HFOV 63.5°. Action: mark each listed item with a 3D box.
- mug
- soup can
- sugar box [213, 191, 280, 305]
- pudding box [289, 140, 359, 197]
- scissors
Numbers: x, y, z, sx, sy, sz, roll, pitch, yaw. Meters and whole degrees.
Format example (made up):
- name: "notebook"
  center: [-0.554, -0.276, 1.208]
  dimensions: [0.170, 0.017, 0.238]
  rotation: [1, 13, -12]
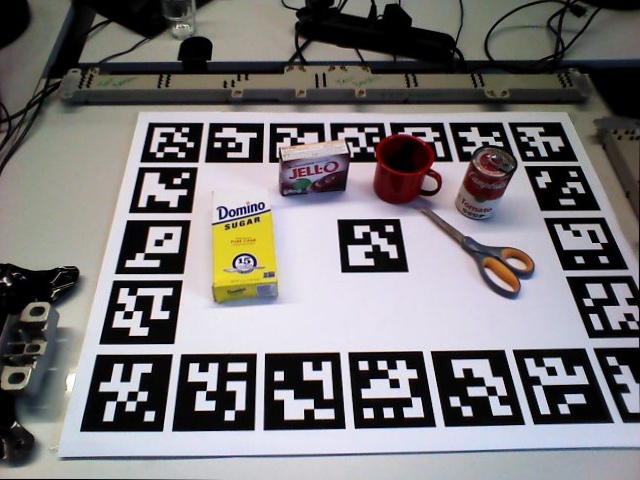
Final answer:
- name: "mug"
  center: [0.157, -0.113, 0.835]
  dimensions: [0.093, 0.082, 0.117]
  rotation: [-33, 62, -18]
- name: "soup can"
  center: [0.274, -0.083, 0.814]
  dimensions: [0.068, 0.102, 0.067]
  rotation: [0, 55, 0]
- name: "sugar box"
  center: [-0.110, 0.008, 0.776]
  dimensions: [0.093, 0.045, 0.175]
  rotation: [-4, 58, -2]
- name: "pudding box"
  center: [0.007, -0.115, 0.824]
  dimensions: [0.114, 0.090, 0.038]
  rotation: [-8, 63, -7]
- name: "scissors"
  center: [0.252, 0.016, 0.788]
  dimensions: [0.087, 0.016, 0.203]
  rotation: [-42, 67, -14]
